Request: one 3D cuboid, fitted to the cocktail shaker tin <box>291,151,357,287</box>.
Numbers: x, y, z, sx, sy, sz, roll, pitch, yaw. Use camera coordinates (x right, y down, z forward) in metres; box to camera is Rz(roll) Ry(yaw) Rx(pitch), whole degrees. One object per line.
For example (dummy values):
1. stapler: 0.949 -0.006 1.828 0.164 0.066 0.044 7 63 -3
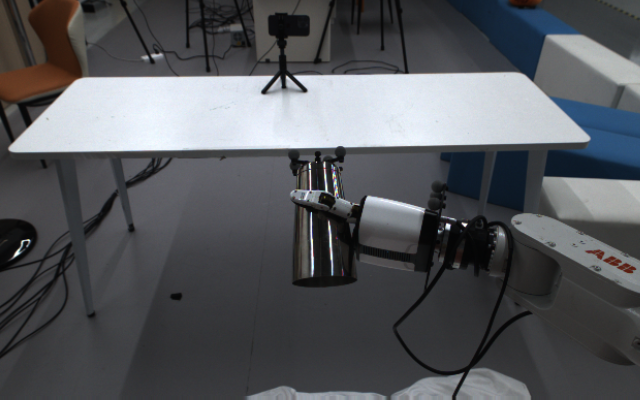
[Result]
1. cocktail shaker tin: 0.002 0.034 0.702 0.093 0.093 0.170 -2 71 -6
